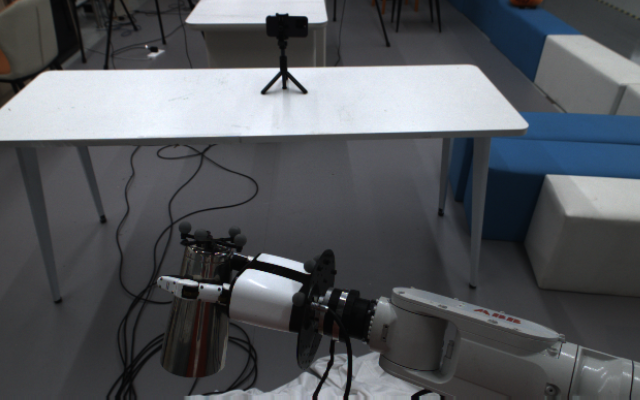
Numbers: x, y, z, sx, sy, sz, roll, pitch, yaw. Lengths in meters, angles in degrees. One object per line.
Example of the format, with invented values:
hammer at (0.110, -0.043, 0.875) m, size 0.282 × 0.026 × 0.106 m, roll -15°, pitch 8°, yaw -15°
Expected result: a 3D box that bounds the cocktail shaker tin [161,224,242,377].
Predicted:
cocktail shaker tin at (-0.163, 0.146, 0.679) m, size 0.093 × 0.170 × 0.093 m, roll 10°, pitch 10°, yaw -2°
